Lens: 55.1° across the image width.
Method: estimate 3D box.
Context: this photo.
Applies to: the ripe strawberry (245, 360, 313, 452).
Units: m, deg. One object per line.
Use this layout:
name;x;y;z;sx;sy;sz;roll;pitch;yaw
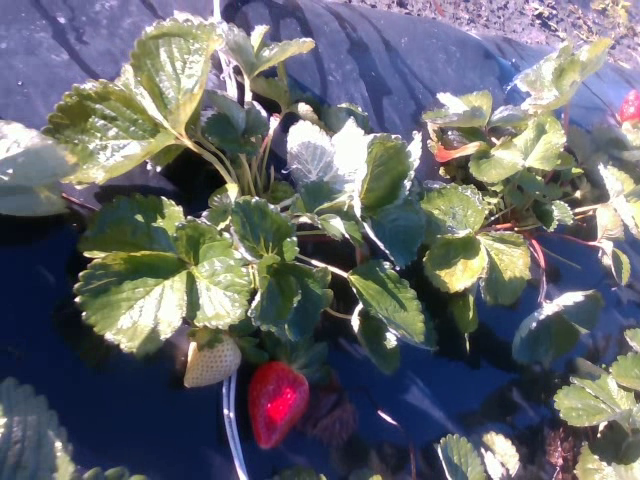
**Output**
ripe strawberry;-0.026;0.122;0.446;0.040;0.063;0.080;-7;38;23
